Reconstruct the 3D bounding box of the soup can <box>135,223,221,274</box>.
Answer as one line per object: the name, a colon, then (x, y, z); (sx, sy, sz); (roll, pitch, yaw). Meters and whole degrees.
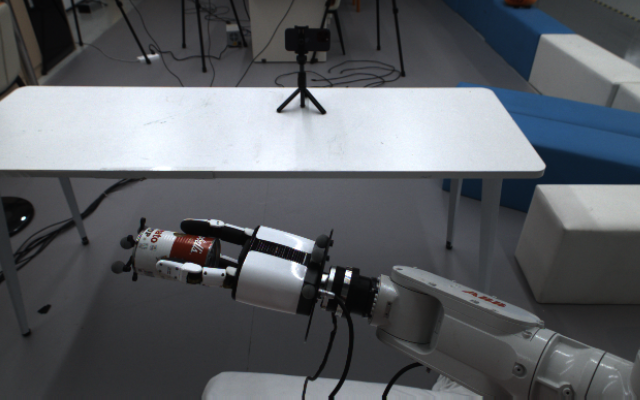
soup can: (-0.194, 0.079, 0.668); (0.101, 0.067, 0.067); (9, 35, 2)
